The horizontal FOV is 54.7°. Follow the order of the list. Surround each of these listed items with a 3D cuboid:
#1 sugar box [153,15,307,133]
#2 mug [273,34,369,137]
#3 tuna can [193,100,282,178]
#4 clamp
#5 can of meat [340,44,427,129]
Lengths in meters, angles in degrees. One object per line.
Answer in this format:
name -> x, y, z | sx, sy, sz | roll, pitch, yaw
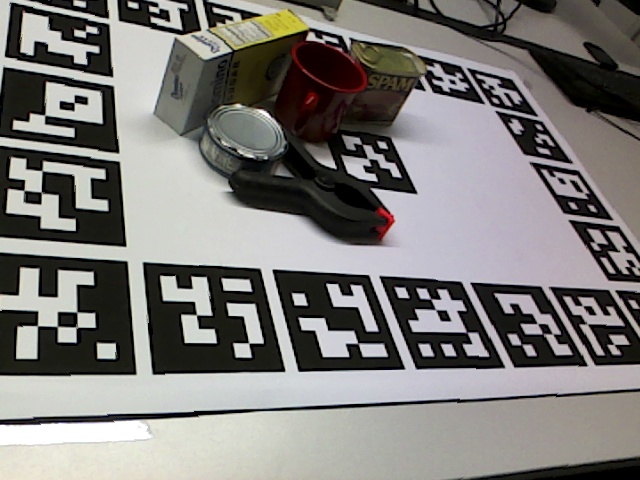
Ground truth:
sugar box -> -0.092, -0.182, 0.666 | 0.045, 0.093, 0.176 | 41, 41, 12
mug -> -0.006, -0.164, 0.696 | 0.093, 0.081, 0.117 | 25, 44, -9
tuna can -> -0.084, -0.100, 0.627 | 0.085, 0.034, 0.086 | 16, 46, -17
clamp -> -0.005, -0.048, 0.632 | 0.165, 0.036, 0.122 | 34, 37, -4
can of meat -> 0.068, -0.190, 0.776 | 0.101, 0.084, 0.058 | -1, 50, -33
